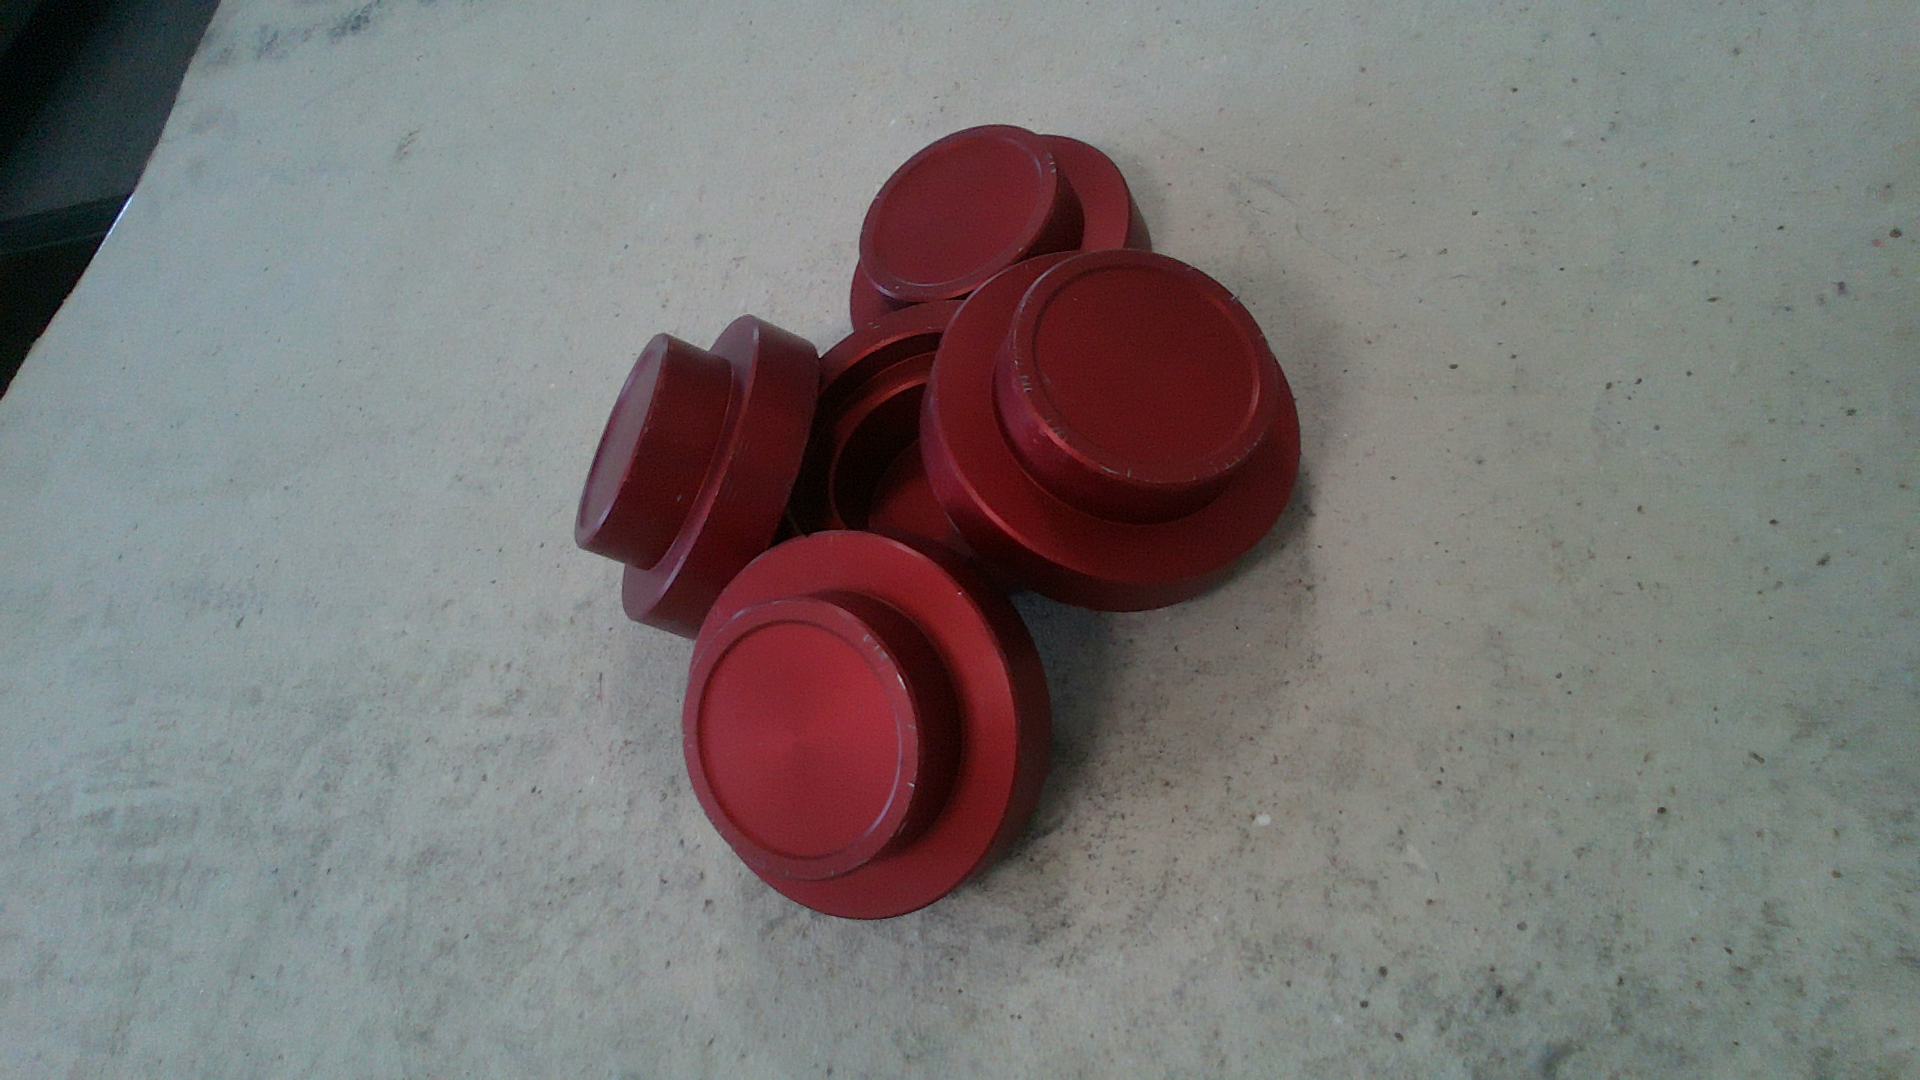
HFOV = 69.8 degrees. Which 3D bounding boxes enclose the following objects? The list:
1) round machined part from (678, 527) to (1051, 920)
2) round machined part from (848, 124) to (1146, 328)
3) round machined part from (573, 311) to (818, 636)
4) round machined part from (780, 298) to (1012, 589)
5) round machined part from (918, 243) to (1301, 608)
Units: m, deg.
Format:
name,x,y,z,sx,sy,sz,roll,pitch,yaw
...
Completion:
name,x,y,z,sx,sy,sz,roll,pitch,yaw
round machined part,-0.030,0.046,0.343,0.098,0.042,0.098,1,92,26
round machined part,0.007,-0.092,0.435,0.098,0.042,0.098,-14,54,20
round machined part,-0.084,-0.023,0.411,0.098,0.042,0.098,-45,33,41
round machined part,-0.007,-0.018,0.398,0.098,0.042,0.098,-15,54,22
round machined part,0.041,-0.036,0.350,0.098,0.042,0.098,5,63,-10
